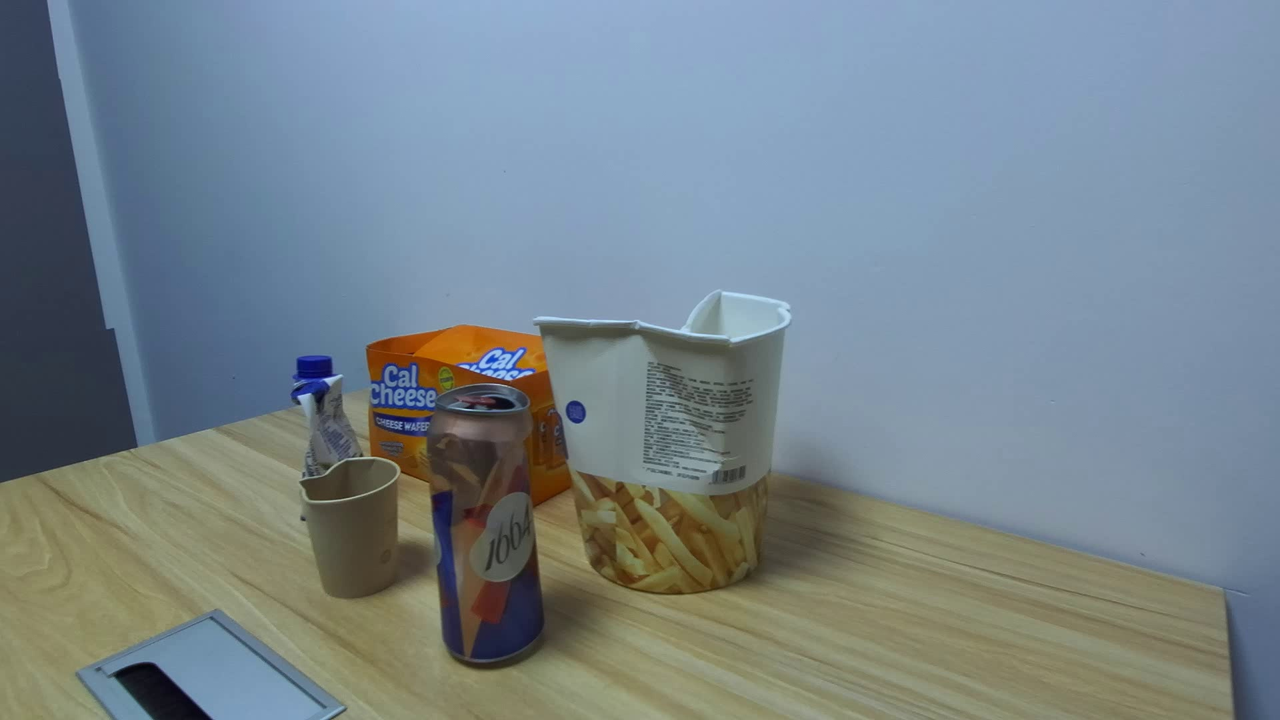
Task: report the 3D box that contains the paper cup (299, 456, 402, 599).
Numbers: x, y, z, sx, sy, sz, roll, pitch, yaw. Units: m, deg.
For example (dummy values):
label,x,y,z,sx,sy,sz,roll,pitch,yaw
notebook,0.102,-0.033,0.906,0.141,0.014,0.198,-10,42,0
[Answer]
label,x,y,z,sx,sy,sz,roll,pitch,yaw
paper cup,-0.209,0.124,0.522,0.069,0.081,0.073,-10,17,-32

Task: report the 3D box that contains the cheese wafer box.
label,x,y,z,sx,sy,sz,roll,pitch,yaw
cheese wafer box,-0.165,0.050,0.736,0.229,0.132,0.153,11,19,33

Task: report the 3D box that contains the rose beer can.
label,x,y,z,sx,sy,sz,roll,pitch,yaw
rose beer can,-0.094,0.104,0.443,0.065,0.167,0.076,8,15,25

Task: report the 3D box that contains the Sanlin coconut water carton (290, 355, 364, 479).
label,x,y,z,sx,sy,sz,roll,pitch,yaw
Sanlin coconut water carton,-0.280,0.071,0.614,0.056,0.145,0.068,-8,19,9

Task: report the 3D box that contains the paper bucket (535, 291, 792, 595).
label,x,y,z,sx,sy,sz,roll,pitch,yaw
paper bucket,0.032,0.054,0.559,0.168,0.202,0.163,10,17,26
